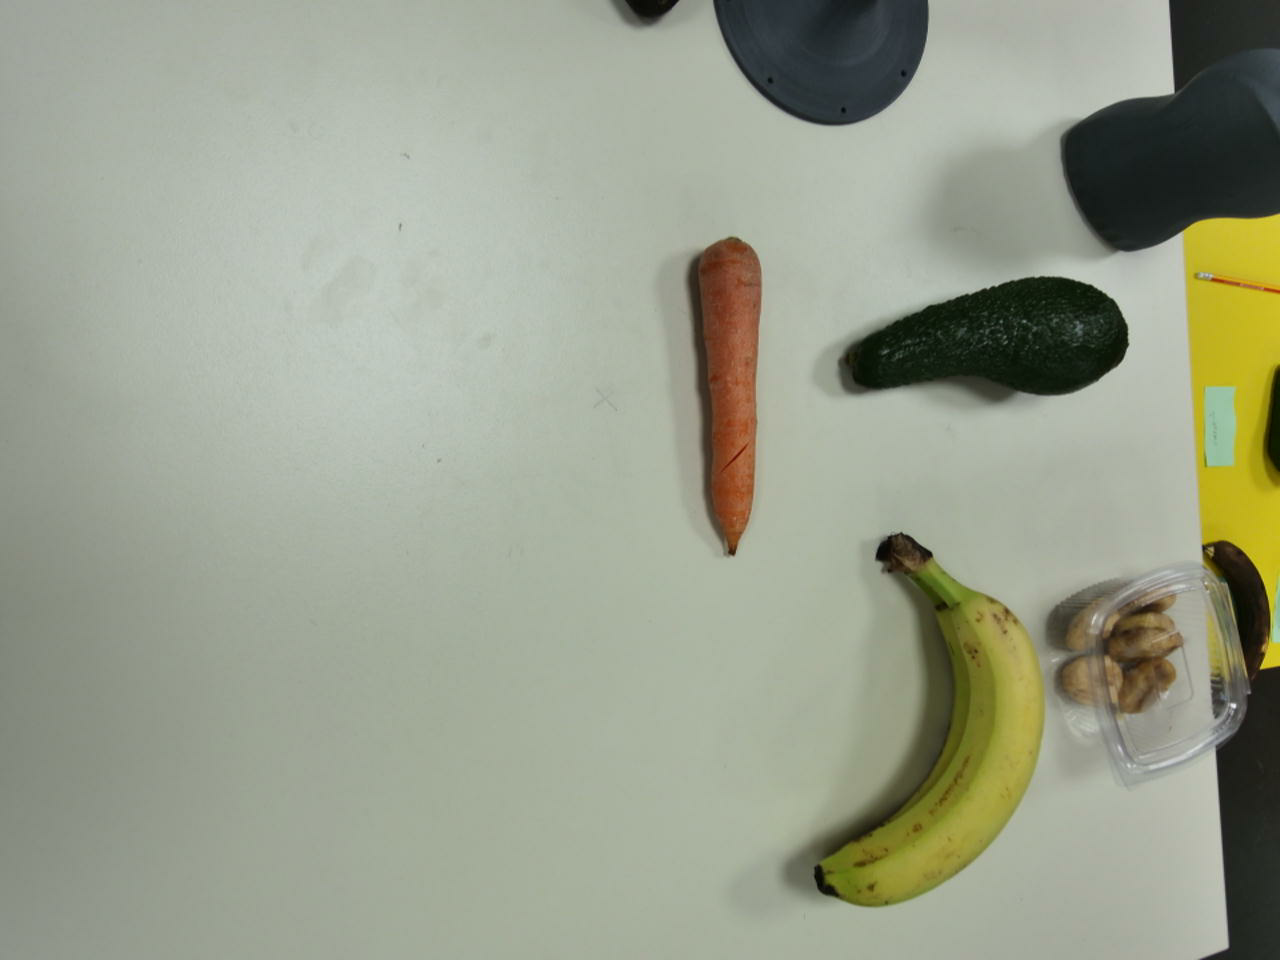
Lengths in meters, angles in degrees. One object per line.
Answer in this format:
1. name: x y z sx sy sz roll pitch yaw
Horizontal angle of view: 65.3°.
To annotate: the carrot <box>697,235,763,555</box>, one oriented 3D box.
1. carrot: 0.059 -0.049 0.613 0.039 0.041 0.196 -5 93 -22
